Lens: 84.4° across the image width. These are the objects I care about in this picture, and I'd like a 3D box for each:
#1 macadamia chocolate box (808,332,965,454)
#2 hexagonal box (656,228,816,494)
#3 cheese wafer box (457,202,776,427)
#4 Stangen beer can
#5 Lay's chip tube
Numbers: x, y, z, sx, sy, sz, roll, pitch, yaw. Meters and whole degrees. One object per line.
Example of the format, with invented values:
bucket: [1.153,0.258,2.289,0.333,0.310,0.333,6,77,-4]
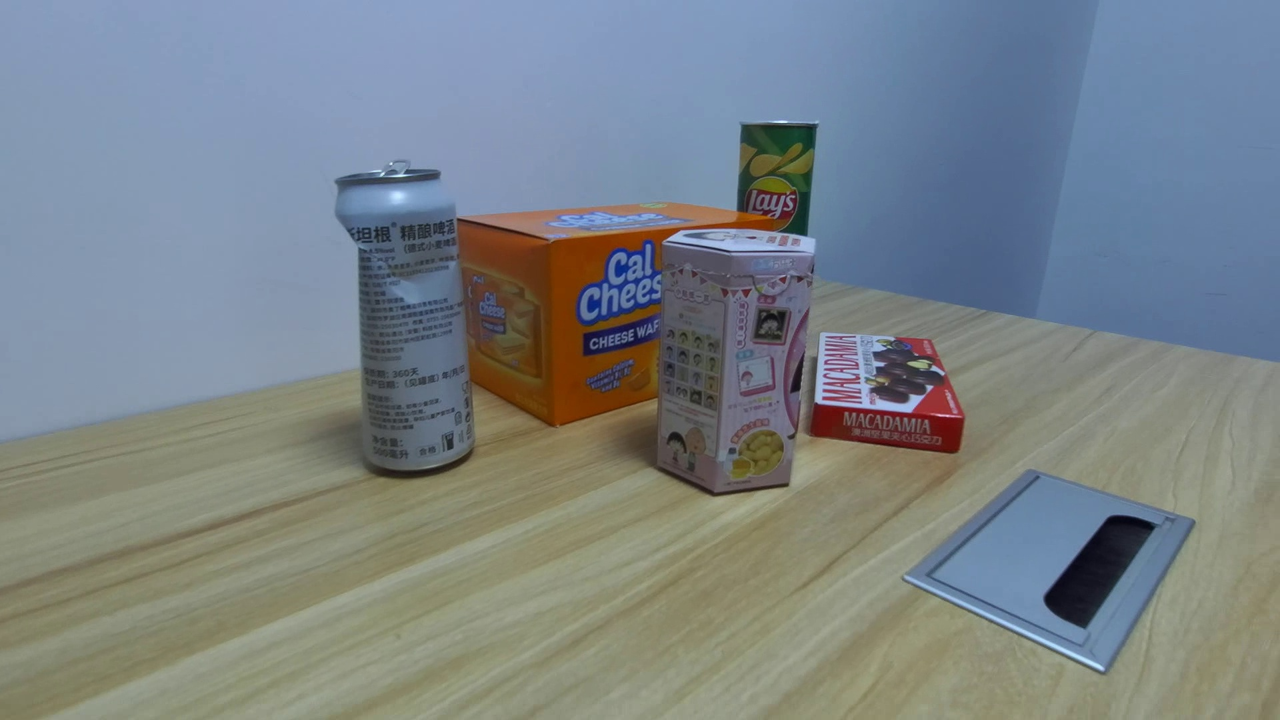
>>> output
macadamia chocolate box: [0.180,0.018,0.534,0.095,0.027,0.178,6,18,14]
hexagonal box: [0.056,-0.002,0.402,0.083,0.136,0.091,5,19,13]
cheese wafer box: [-0.019,-0.051,0.571,0.223,0.129,0.147,-14,24,-39]
Stangen beer can: [-0.135,-0.021,0.403,0.069,0.173,0.070,10,19,31]
Lay's chip tube: [0.124,-0.117,0.658,0.071,0.202,0.071,0,17,0]
